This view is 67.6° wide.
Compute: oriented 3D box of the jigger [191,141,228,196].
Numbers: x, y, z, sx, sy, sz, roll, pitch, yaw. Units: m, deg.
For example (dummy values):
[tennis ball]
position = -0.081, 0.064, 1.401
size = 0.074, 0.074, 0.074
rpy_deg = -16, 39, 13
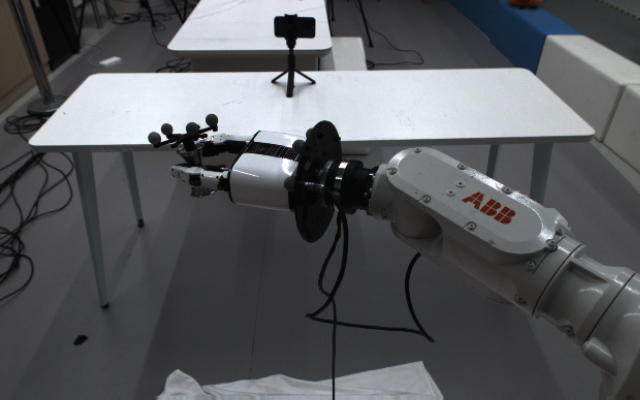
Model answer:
[jigger]
position = -0.173, -0.043, 0.691
size = 0.043, 0.071, 0.043
rpy_deg = -11, 25, 5
